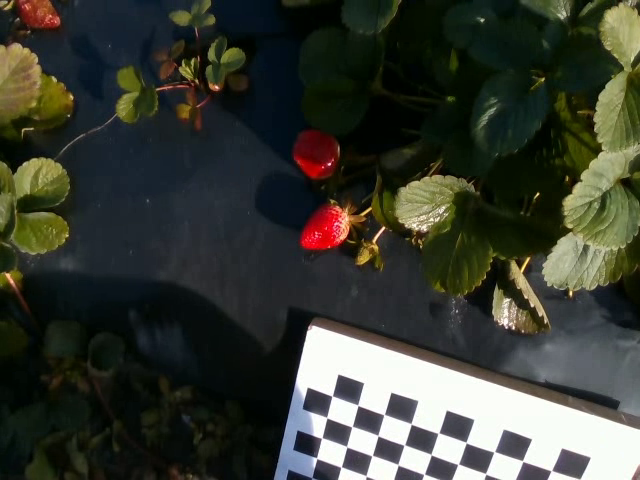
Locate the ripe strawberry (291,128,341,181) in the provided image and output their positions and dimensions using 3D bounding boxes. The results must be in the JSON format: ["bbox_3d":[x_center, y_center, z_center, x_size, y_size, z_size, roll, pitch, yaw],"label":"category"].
[{"bbox_3d":[-0.003,-0.078,0.555,0.054,0.048,0.039,24,22,-20],"label":"ripe strawberry"}]

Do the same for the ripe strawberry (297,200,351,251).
[{"bbox_3d":[0.002,-0.010,0.537,0.053,0.043,0.038,-34,8,-20],"label":"ripe strawberry"}]
